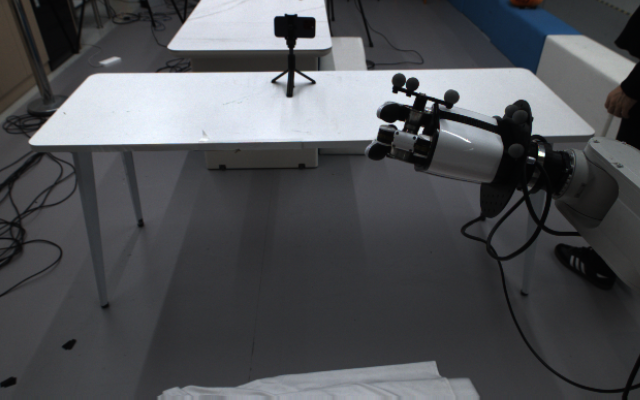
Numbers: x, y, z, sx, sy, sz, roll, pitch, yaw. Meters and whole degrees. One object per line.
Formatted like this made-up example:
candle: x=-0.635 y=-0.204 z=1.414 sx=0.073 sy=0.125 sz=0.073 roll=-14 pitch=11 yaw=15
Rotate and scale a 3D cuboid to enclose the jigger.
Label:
jigger: x=0.121 y=-0.088 z=0.646 sx=0.043 sy=0.071 sz=0.043 roll=15 pitch=17 yaw=-5
